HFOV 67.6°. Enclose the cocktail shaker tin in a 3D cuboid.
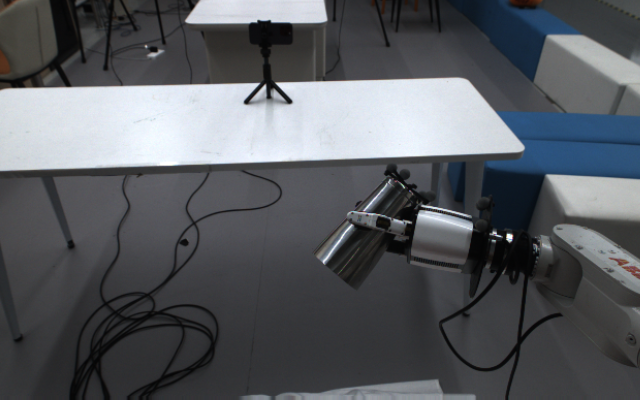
[{"bbox_3d":[0.078,0.044,0.769,0.170,0.093,0.093,-48,49,-2],"label":"cocktail shaker tin"}]
